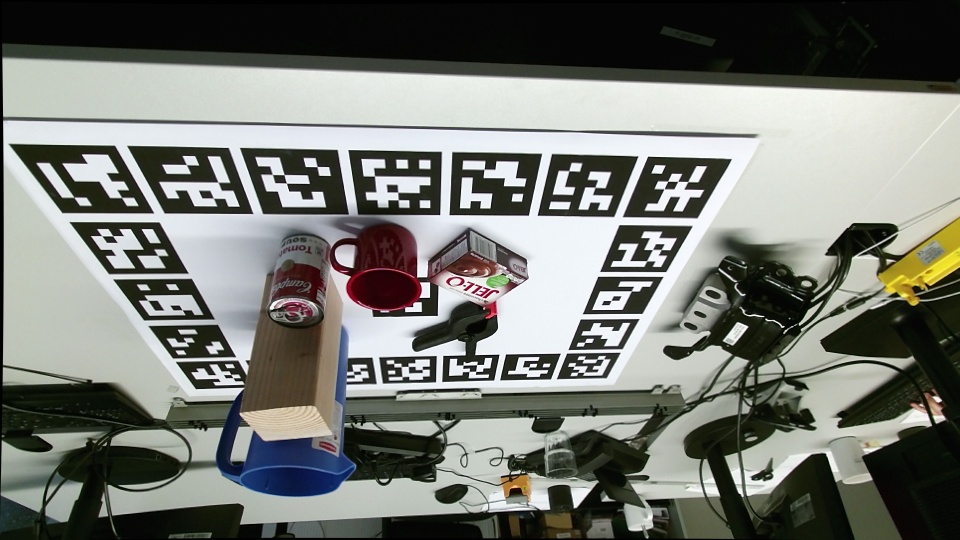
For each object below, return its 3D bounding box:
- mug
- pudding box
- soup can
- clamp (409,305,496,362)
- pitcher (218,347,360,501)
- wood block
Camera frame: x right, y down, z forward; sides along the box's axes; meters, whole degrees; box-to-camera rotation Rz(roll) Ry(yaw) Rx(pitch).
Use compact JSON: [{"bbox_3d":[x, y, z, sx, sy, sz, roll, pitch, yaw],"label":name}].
[{"bbox_3d":[-0.131,-0.001,0.680,0.117,0.081,0.093,24,134,-33],"label":"mug"},{"bbox_3d":[0.005,0.007,0.747,0.114,0.038,0.090,26,128,-34],"label":"pudding box"},{"bbox_3d":[-0.225,0.022,0.678,0.068,0.101,0.068,-4,138,-3],"label":"soup can"},{"bbox_3d":[-0.027,0.106,0.872,0.122,0.036,0.165,24,132,-22],"label":"clamp"},{"bbox_3d":[-0.275,0.209,0.794,0.189,0.241,0.133,-4,143,-7],"label":"pitcher"},{"bbox_3d":[-0.243,0.119,0.713,0.090,0.205,0.091,-1,141,-1],"label":"wood block"}]
